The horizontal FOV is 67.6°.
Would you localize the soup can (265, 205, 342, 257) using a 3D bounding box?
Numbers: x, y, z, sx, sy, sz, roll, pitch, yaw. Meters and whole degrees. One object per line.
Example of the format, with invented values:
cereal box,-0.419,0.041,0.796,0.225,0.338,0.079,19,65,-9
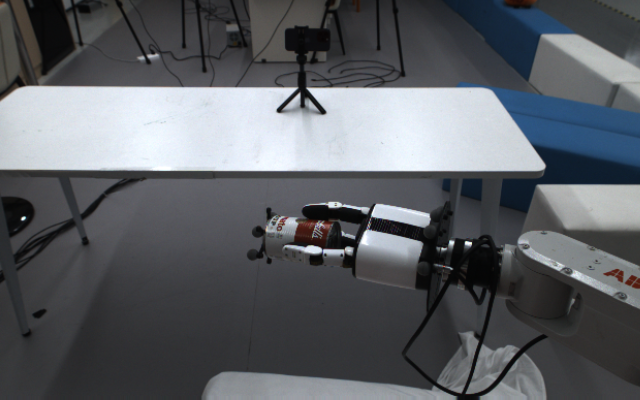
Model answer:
soup can,-0.023,0.061,0.722,0.101,0.067,0.067,5,34,18
